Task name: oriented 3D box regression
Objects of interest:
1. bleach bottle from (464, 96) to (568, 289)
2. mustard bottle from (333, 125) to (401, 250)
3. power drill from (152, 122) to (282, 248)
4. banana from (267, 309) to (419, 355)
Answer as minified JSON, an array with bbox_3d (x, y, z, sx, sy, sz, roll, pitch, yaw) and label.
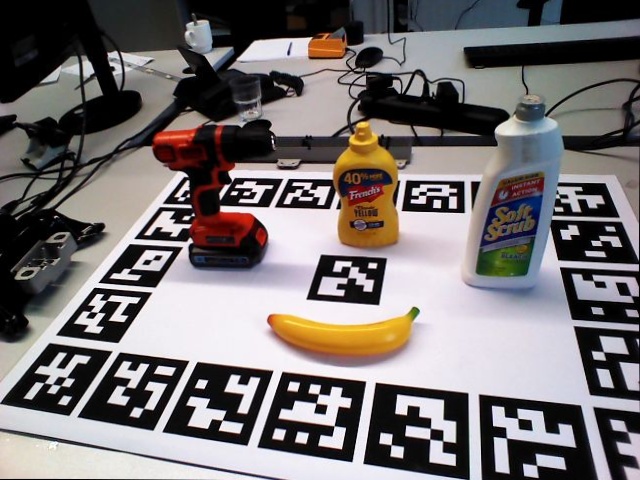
[{"bbox_3d":[0.237,-0.054,0.636,0.103,0.251,0.067,8,40,20],"label":"bleach bottle"},{"bbox_3d":[0.069,-0.075,0.751,0.096,0.192,0.058,-1,38,7],"label":"mustard bottle"},{"bbox_3d":[-0.129,-0.079,0.745,0.185,0.187,0.057,-4,37,12],"label":"power drill"},{"bbox_3d":[0.027,0.106,0.630,0.198,0.039,0.074,-3,39,12],"label":"banana"}]
